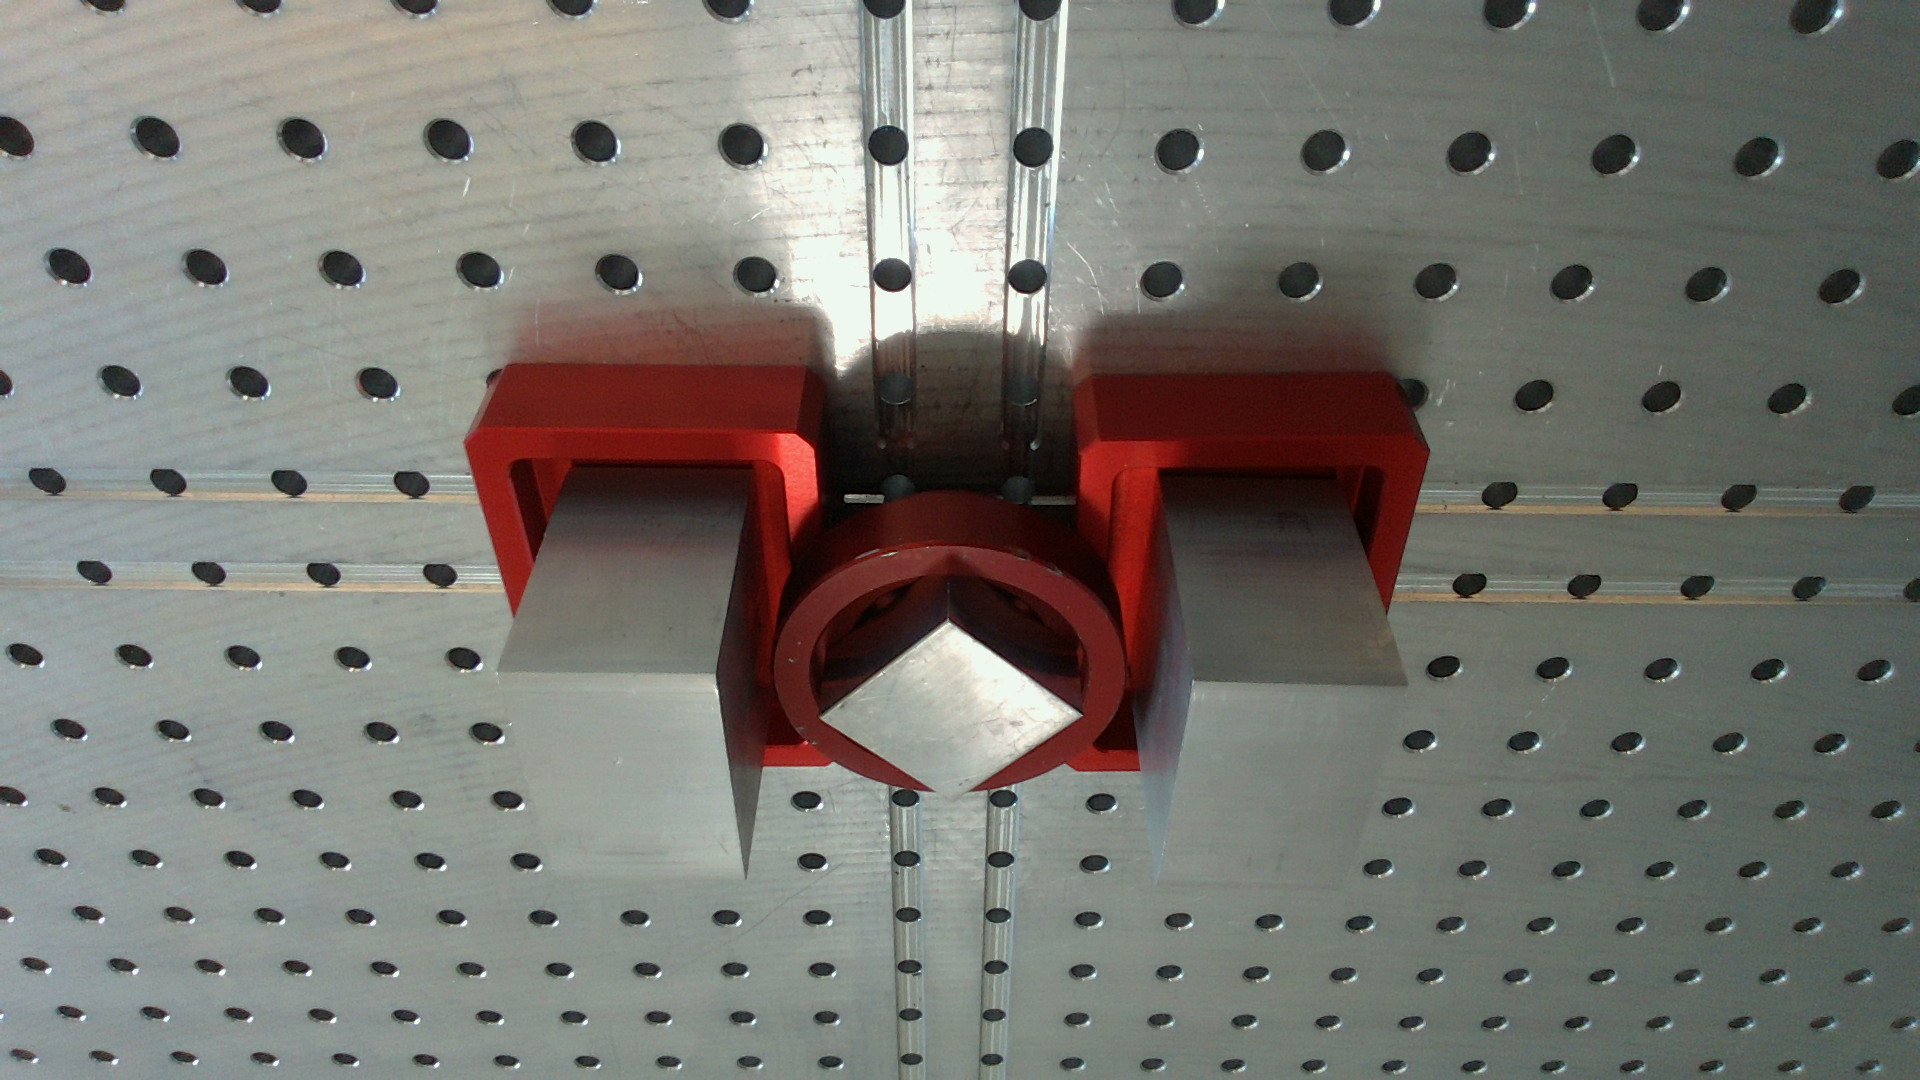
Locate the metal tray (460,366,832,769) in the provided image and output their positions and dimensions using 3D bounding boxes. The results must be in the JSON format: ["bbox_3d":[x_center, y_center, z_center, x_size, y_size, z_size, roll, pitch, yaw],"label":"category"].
[{"bbox_3d":[-0.082,0.013,0.399,0.090,0.030,0.130,0,130,0],"label":"metal tray"}]

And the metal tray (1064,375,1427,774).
[{"bbox_3d":[0.075,0.015,0.402,0.090,0.030,0.130,0,130,0],"label":"metal tray"}]

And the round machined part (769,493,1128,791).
[{"bbox_3d":[-0.003,0.025,0.392,0.098,0.042,0.098,0,130,0],"label":"round machined part"}]

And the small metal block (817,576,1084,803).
[{"bbox_3d":[-0.003,0.039,0.373,0.050,0.025,0.050,37,121,-27],"label":"small metal block"}]

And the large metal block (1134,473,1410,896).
[{"bbox_3d":[0.078,0.039,0.373,0.050,0.080,0.080,1,130,-1],"label":"large metal block"}]

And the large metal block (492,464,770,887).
[{"bbox_3d":[-0.082,0.036,0.370,0.050,0.080,0.080,1,130,0],"label":"large metal block"}]
